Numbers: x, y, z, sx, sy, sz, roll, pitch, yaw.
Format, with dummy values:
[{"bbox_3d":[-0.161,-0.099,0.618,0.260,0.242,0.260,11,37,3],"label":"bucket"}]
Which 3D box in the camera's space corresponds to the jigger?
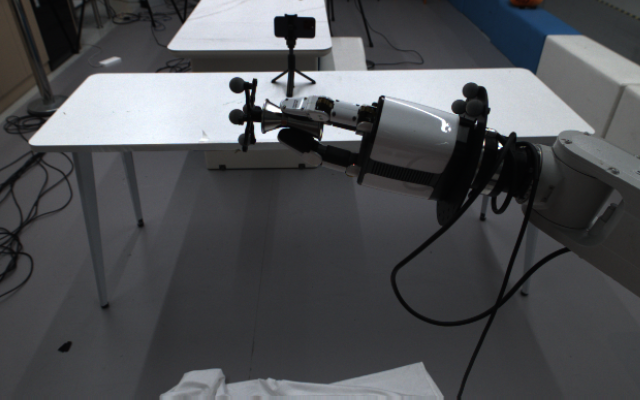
[{"bbox_3d":[-0.023,-0.097,0.563,0.071,0.043,0.043,5,35,3],"label":"jigger"}]
